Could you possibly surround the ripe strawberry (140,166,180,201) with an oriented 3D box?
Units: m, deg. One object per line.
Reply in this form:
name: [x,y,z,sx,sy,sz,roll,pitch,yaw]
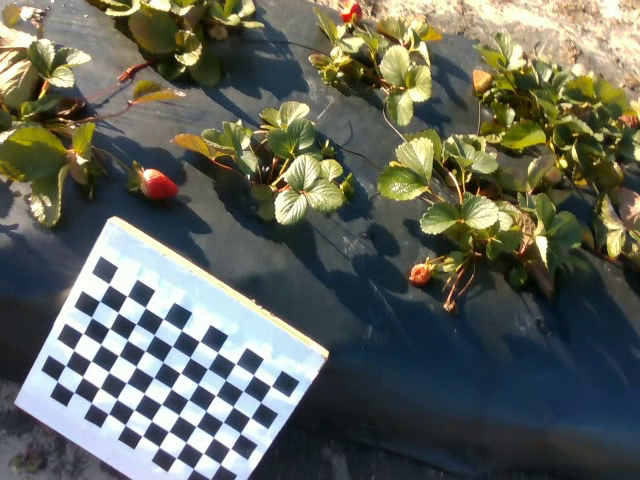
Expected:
ripe strawberry: [-0.206,-0.072,0.897,0.063,0.045,0.044,15,12,-3]
